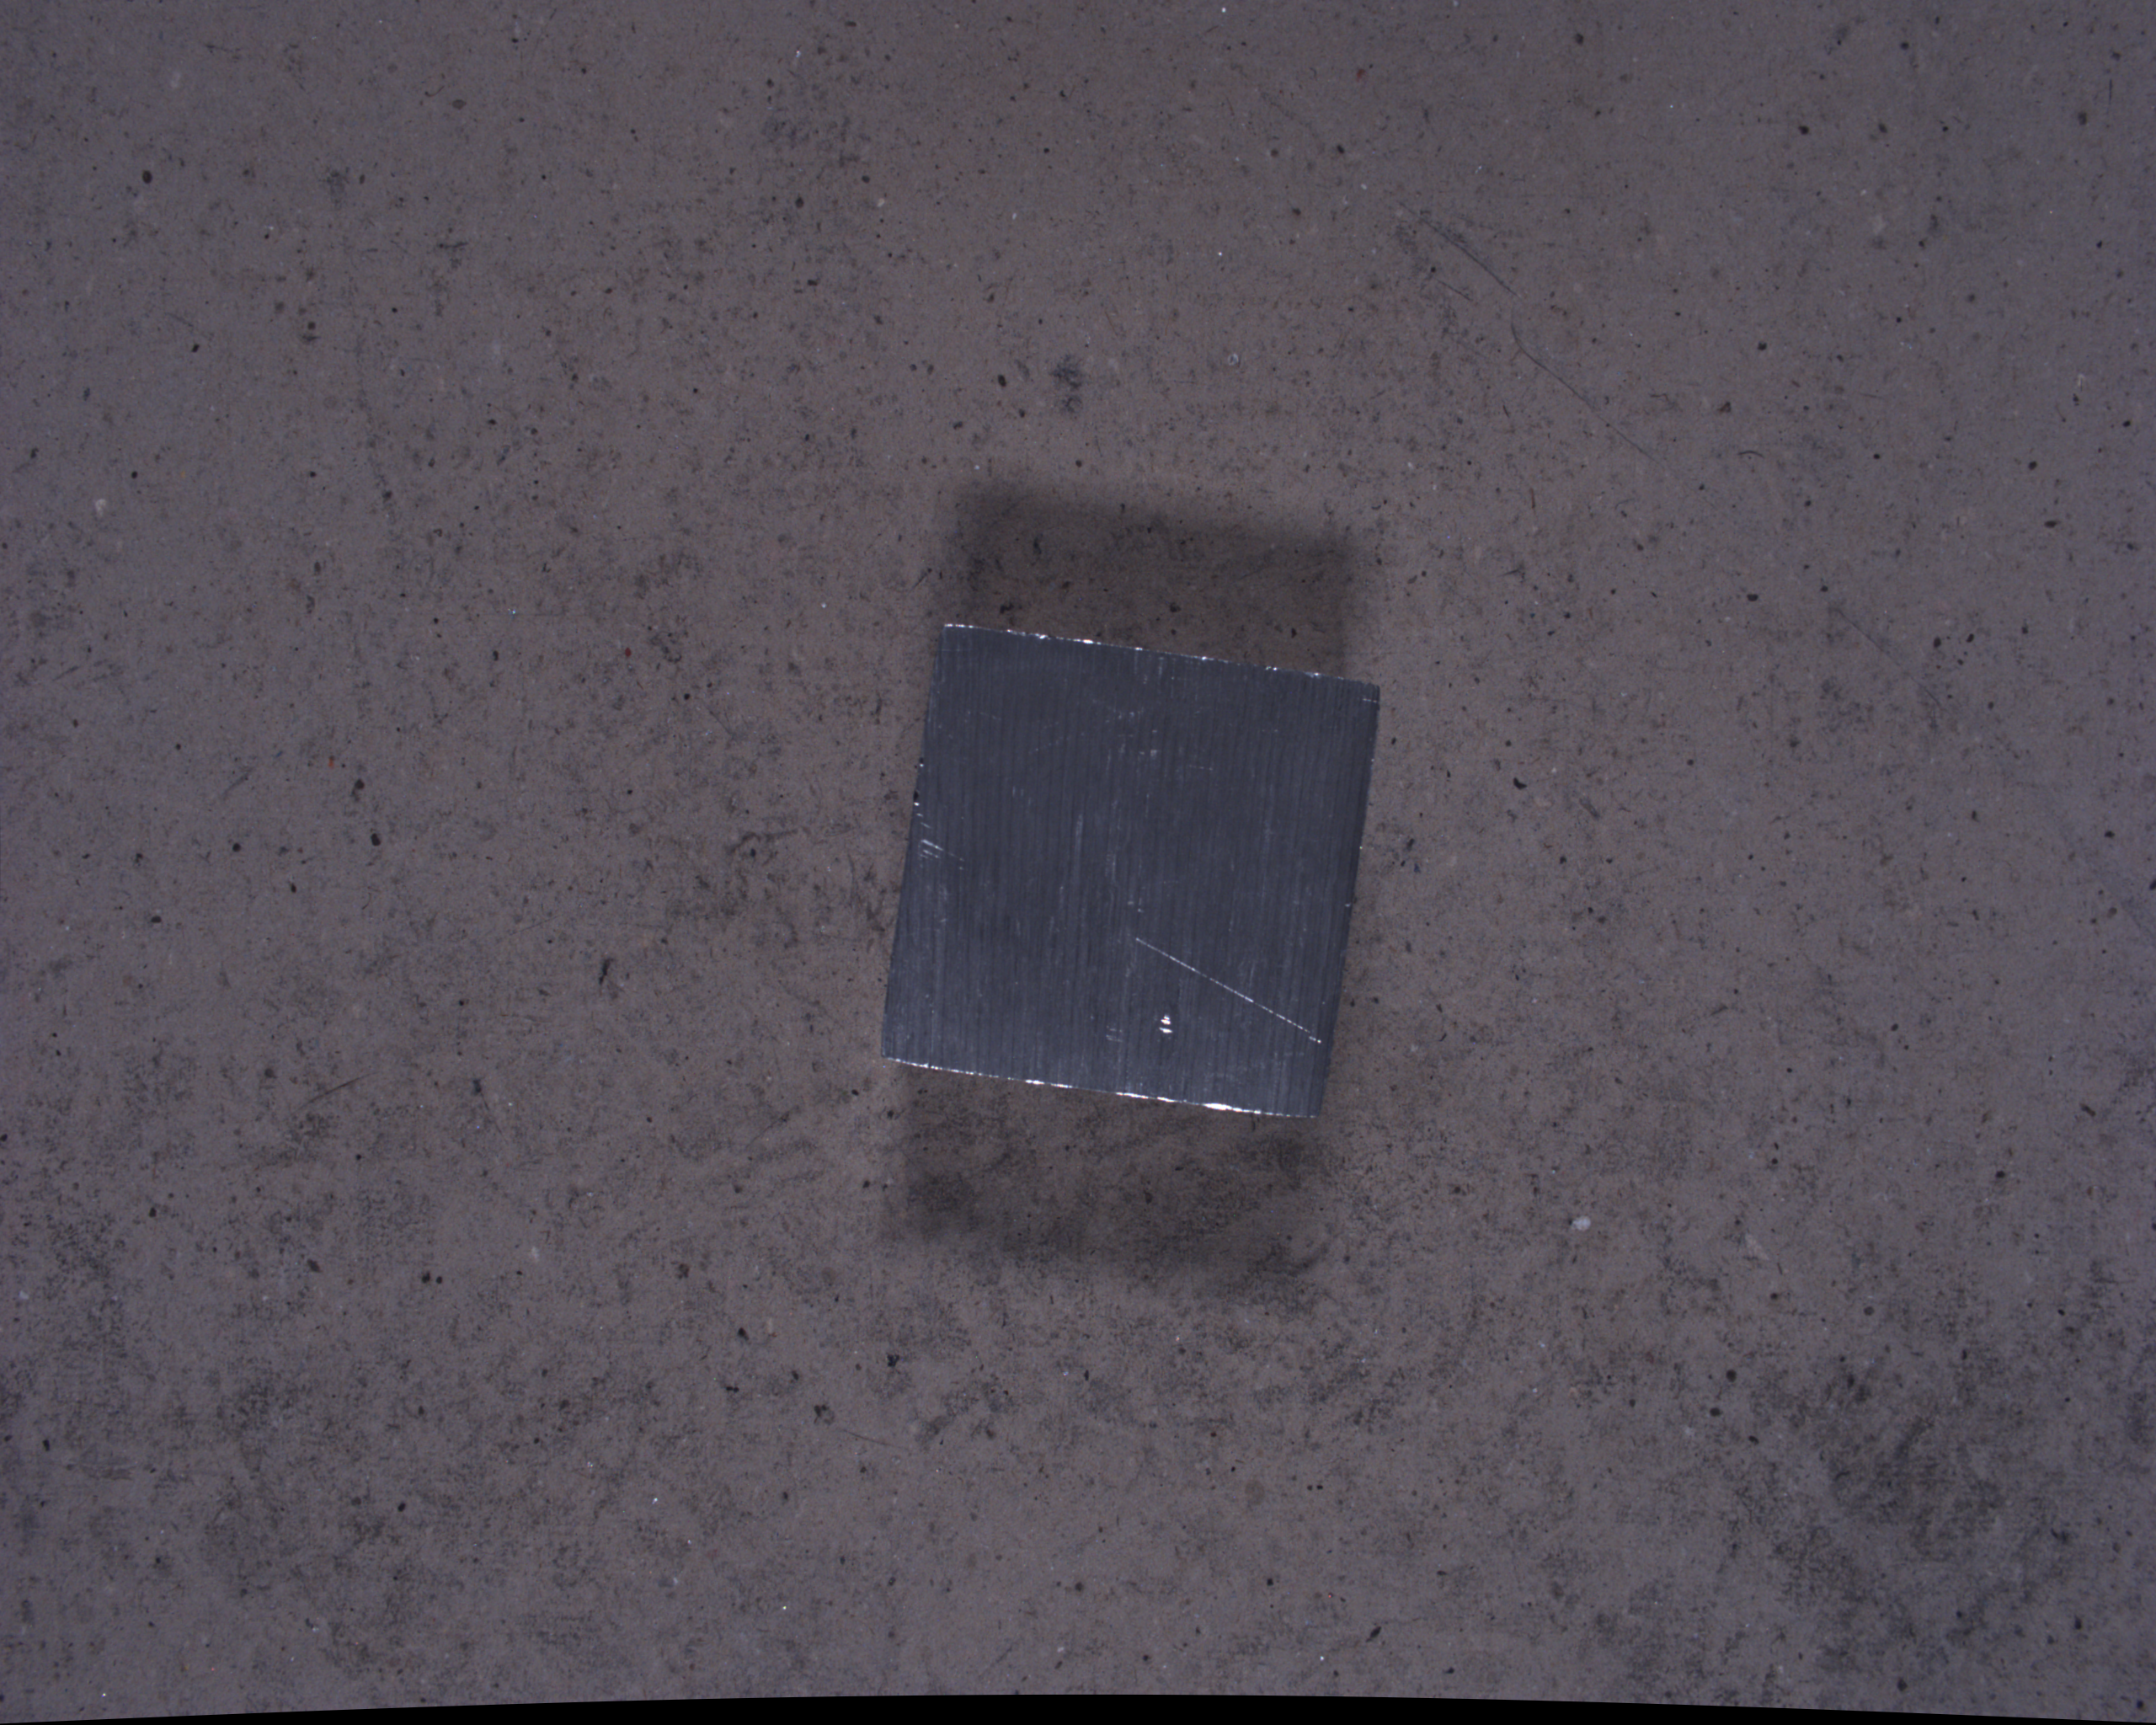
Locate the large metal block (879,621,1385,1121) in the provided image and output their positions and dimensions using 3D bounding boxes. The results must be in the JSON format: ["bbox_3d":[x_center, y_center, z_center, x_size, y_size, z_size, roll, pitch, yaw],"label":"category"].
[{"bbox_3d":[0.010,0.001,0.399,0.081,0.050,0.080,8,90,-1],"label":"large metal block"}]
